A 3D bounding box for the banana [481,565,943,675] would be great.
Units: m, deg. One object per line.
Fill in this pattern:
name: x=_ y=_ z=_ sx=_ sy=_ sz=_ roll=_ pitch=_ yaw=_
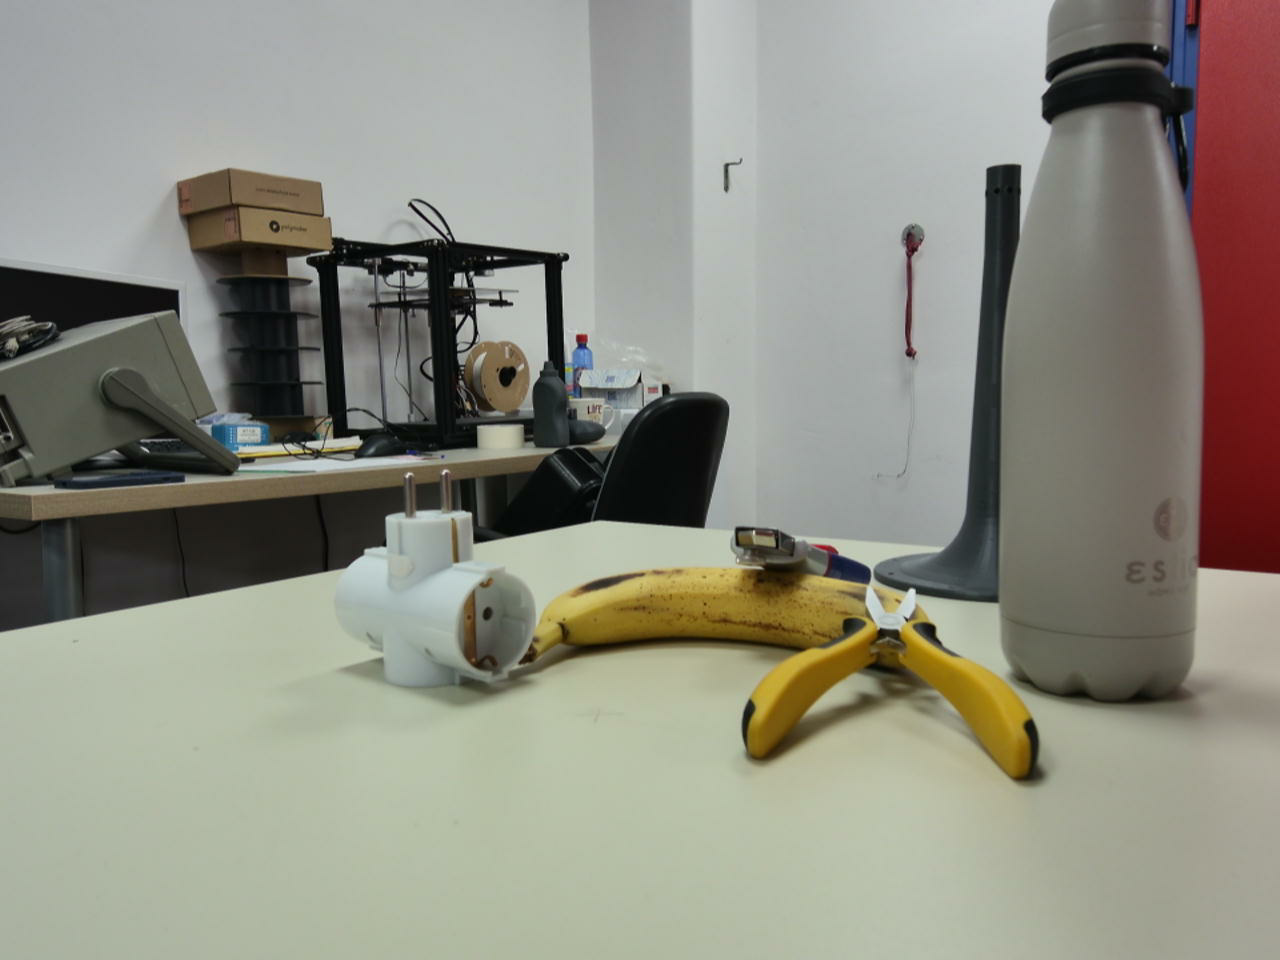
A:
banana: x=0.037 y=0.063 z=0.461 sx=0.186 sy=0.038 sz=0.097 roll=1 pitch=3 yaw=10
